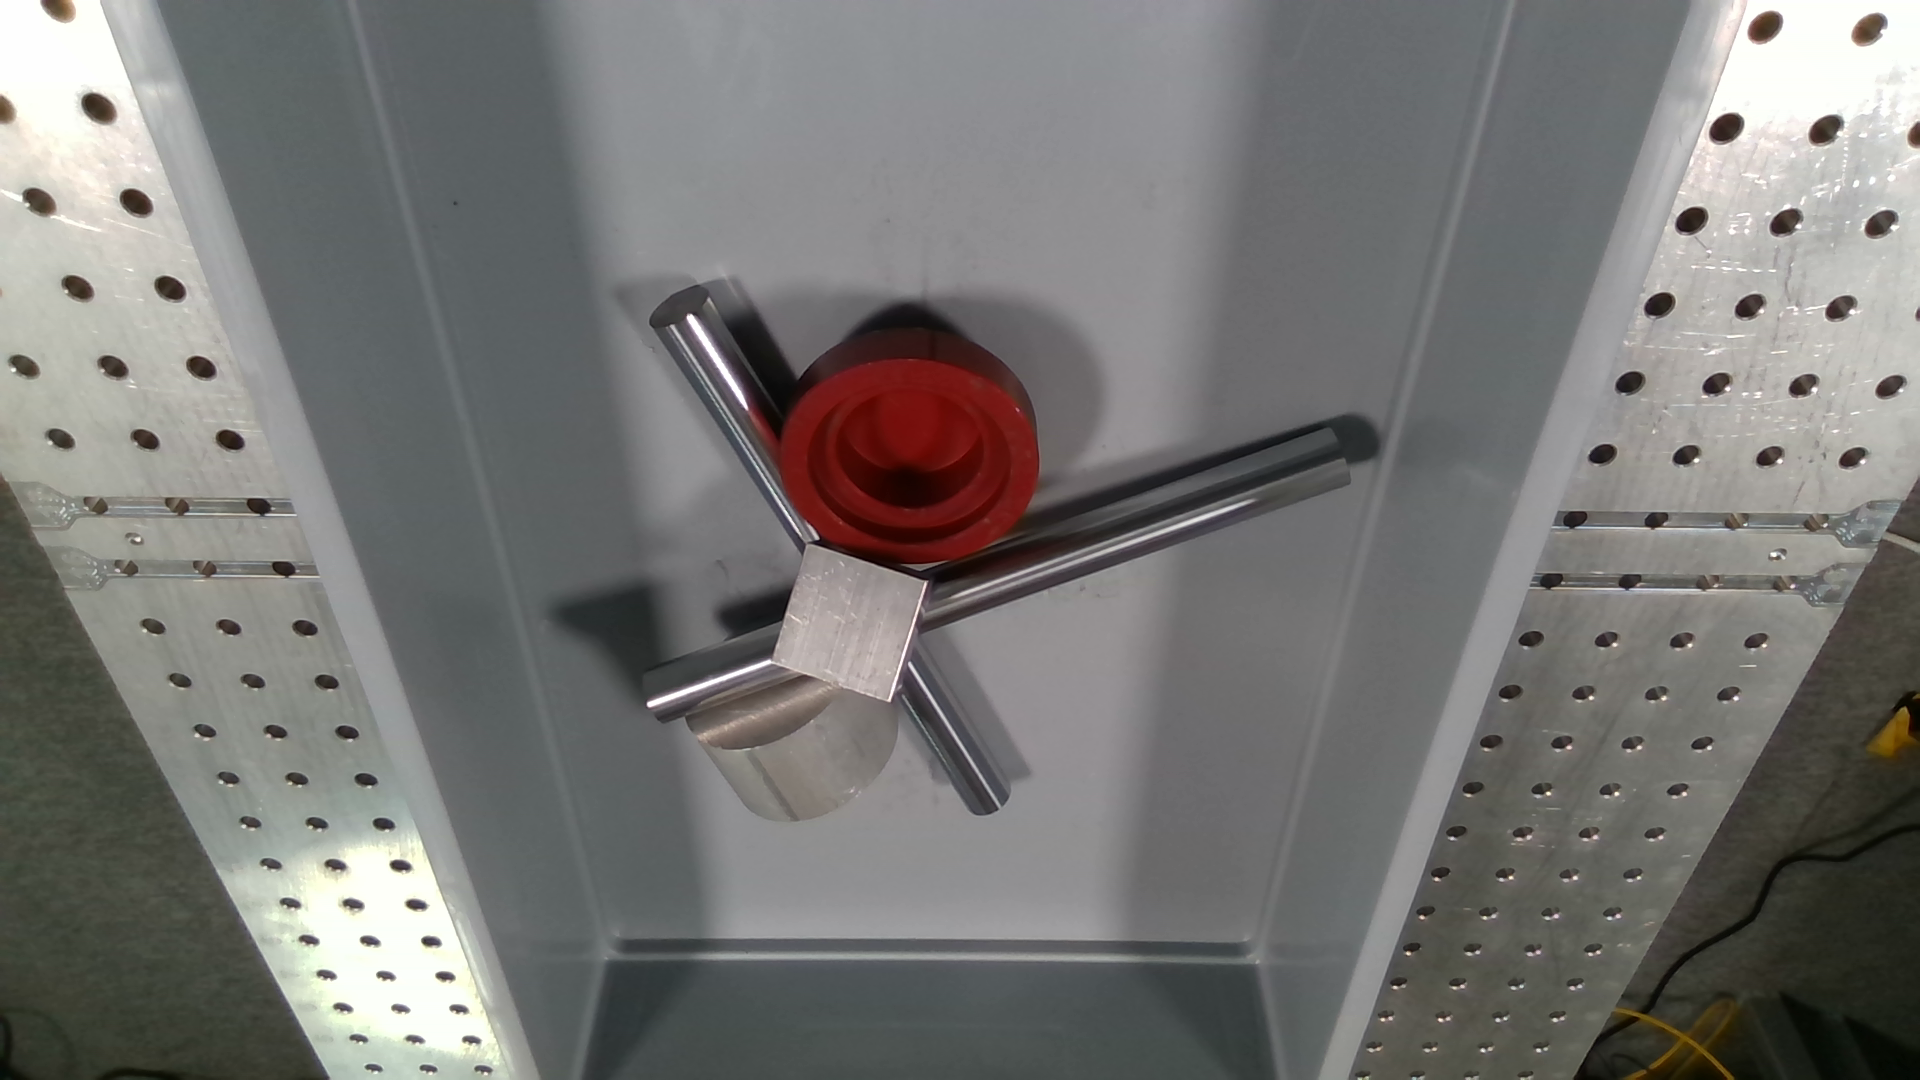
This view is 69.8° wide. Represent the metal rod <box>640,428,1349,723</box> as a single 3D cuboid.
[{"bbox_3d":[0.010,0.016,0.568,0.300,0.025,0.025,-19,128,7],"label":"metal rod"}]

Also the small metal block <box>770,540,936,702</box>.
[{"bbox_3d":[-0.042,0.031,0.551,0.050,0.025,0.050,18,95,5],"label":"small metal block"}]

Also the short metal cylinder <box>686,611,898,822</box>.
[{"bbox_3d":[-0.074,0.076,0.606,0.080,0.080,0.050,-15,128,13],"label":"short metal cylinder"}]

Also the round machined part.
[{"bbox_3d":[-0.019,-0.042,0.532,0.098,0.042,0.098,0,130,0],"label":"round machined part"}]

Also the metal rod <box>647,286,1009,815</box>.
[{"bbox_3d":[-0.046,0.020,0.595,0.025,0.025,0.301,-18,128,14],"label":"metal rod"}]
